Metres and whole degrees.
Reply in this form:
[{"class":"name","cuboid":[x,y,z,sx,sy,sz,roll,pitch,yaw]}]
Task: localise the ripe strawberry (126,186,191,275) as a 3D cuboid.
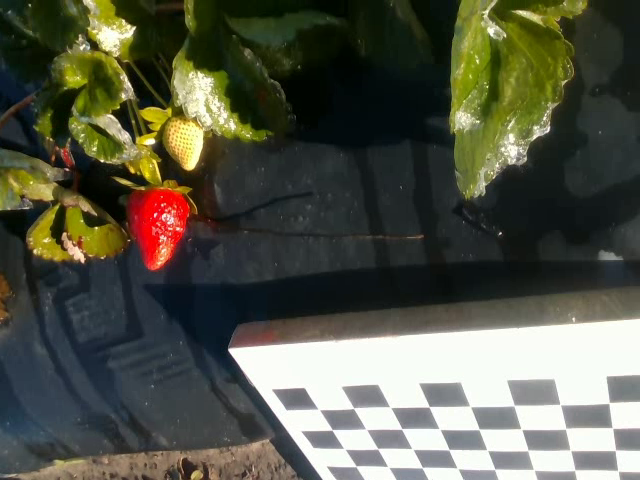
[{"class":"ripe strawberry","cuboid":[-0.074,-0.002,0.277,0.039,0.039,0.040,-9,-24,38]}]
